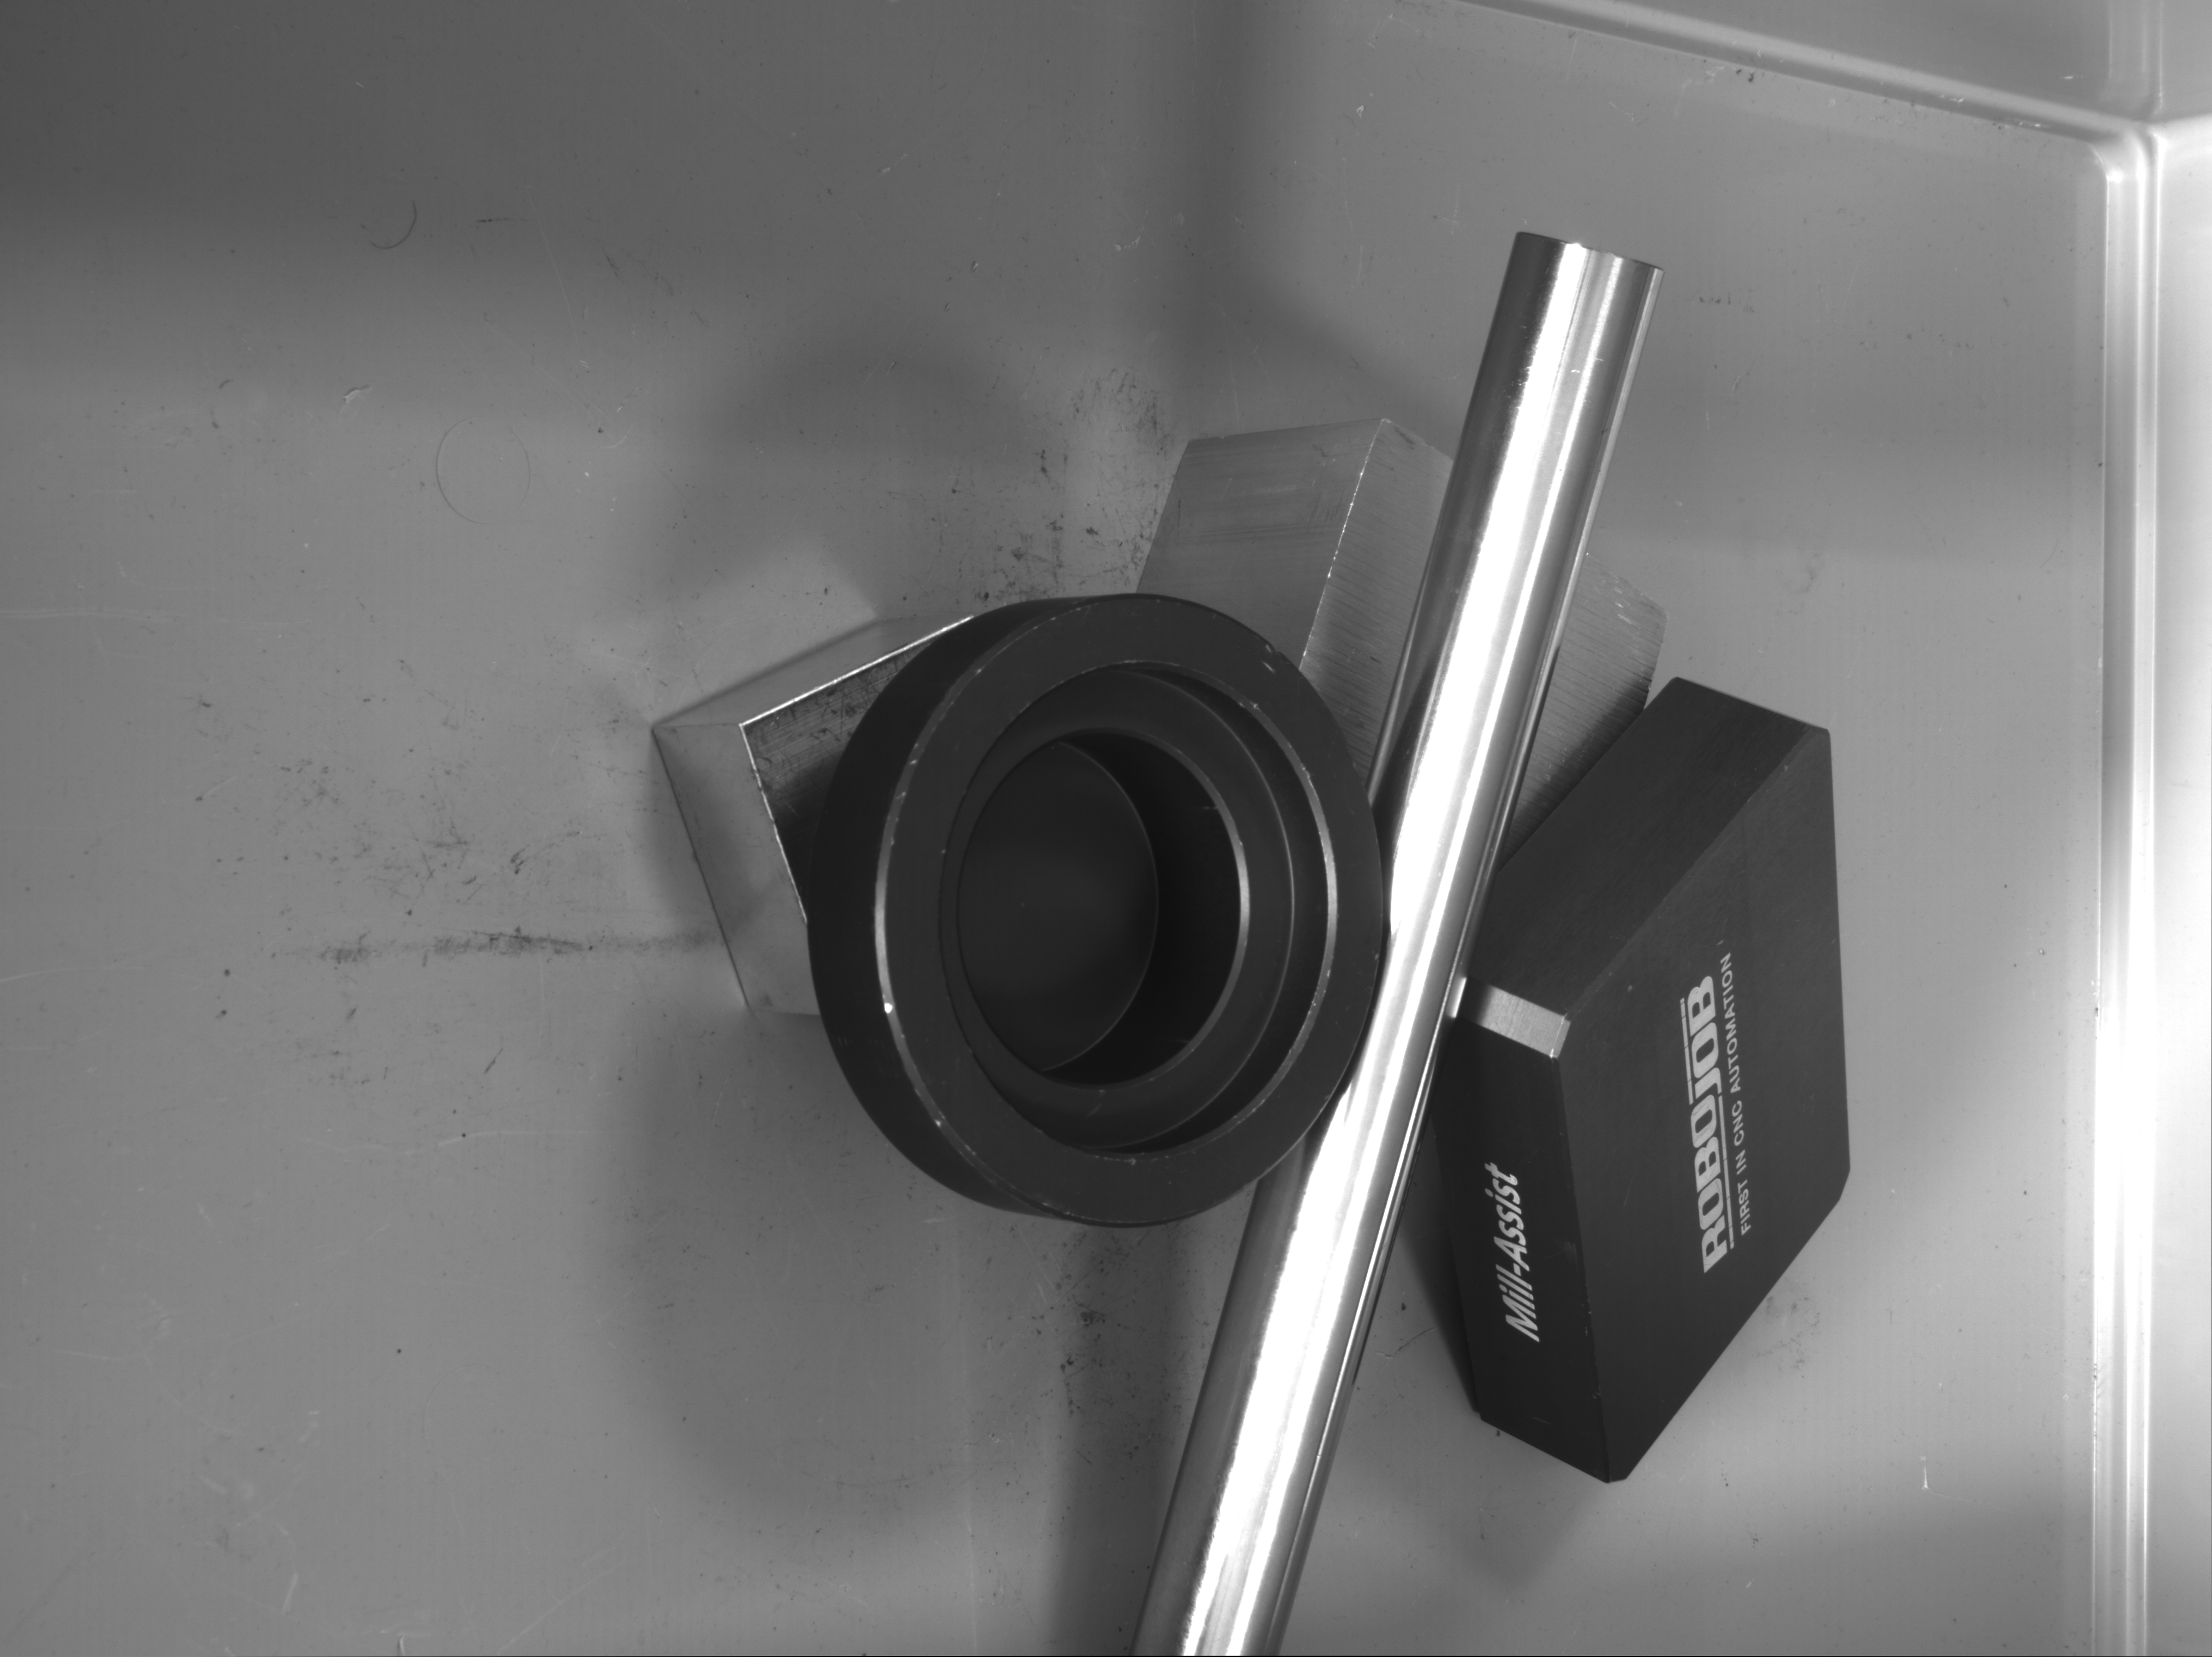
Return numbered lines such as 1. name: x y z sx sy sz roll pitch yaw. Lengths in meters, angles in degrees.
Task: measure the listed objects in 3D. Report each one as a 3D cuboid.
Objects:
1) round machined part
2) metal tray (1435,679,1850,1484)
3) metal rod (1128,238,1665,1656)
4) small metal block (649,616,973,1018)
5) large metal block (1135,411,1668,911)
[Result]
1. round machined part: -0.006 0.013 0.584 0.098 0.042 0.098 0 91 -37
2. metal tray: 0.101 0.049 0.683 0.090 0.030 0.130 -45 142 -30
3. metal rod: 0.041 0.051 0.617 0.025 0.025 0.300 8 101 -39
4. small metal block: -0.040 -0.002 0.602 0.050 0.025 0.050 -28 107 -36
5. large metal block: 0.046 -0.019 0.658 0.080 0.050 0.080 29 72 -36
